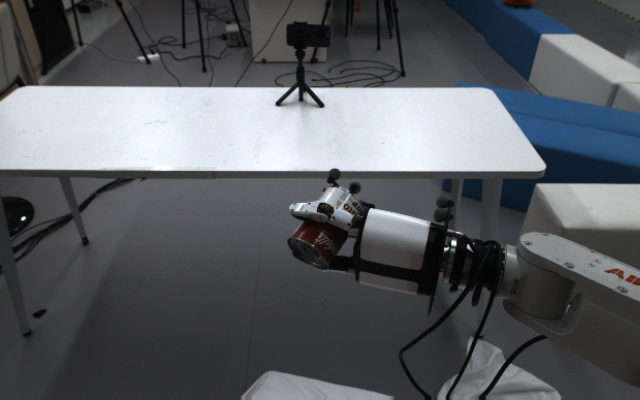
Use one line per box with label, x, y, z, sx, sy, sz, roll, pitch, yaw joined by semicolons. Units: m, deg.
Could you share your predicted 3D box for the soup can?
soup can;0.011;0.037;0.677;0.067;0.067;0.101;22;60;27
